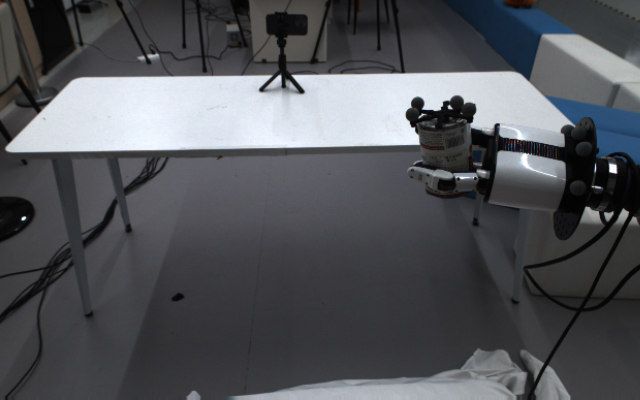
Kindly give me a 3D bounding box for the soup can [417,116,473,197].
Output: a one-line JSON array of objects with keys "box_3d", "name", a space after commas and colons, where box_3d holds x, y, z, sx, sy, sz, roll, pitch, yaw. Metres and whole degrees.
[{"box_3d": [0.171, -0.062, 0.644, 0.067, 0.101, 0.067, -11, 27, 6], "name": "soup can"}]
